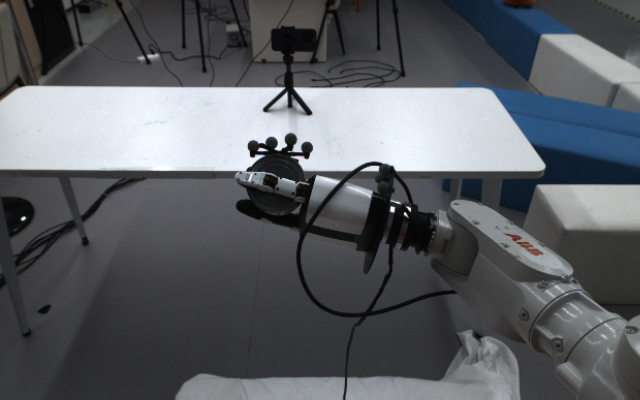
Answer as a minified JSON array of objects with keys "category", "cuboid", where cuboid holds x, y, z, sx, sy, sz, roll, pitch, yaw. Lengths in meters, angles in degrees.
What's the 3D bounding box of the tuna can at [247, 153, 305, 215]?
[{"category":"tuna can","cuboid":[-0.062,-0.021,0.700,0.085,0.034,0.085,-1,77,4]}]
